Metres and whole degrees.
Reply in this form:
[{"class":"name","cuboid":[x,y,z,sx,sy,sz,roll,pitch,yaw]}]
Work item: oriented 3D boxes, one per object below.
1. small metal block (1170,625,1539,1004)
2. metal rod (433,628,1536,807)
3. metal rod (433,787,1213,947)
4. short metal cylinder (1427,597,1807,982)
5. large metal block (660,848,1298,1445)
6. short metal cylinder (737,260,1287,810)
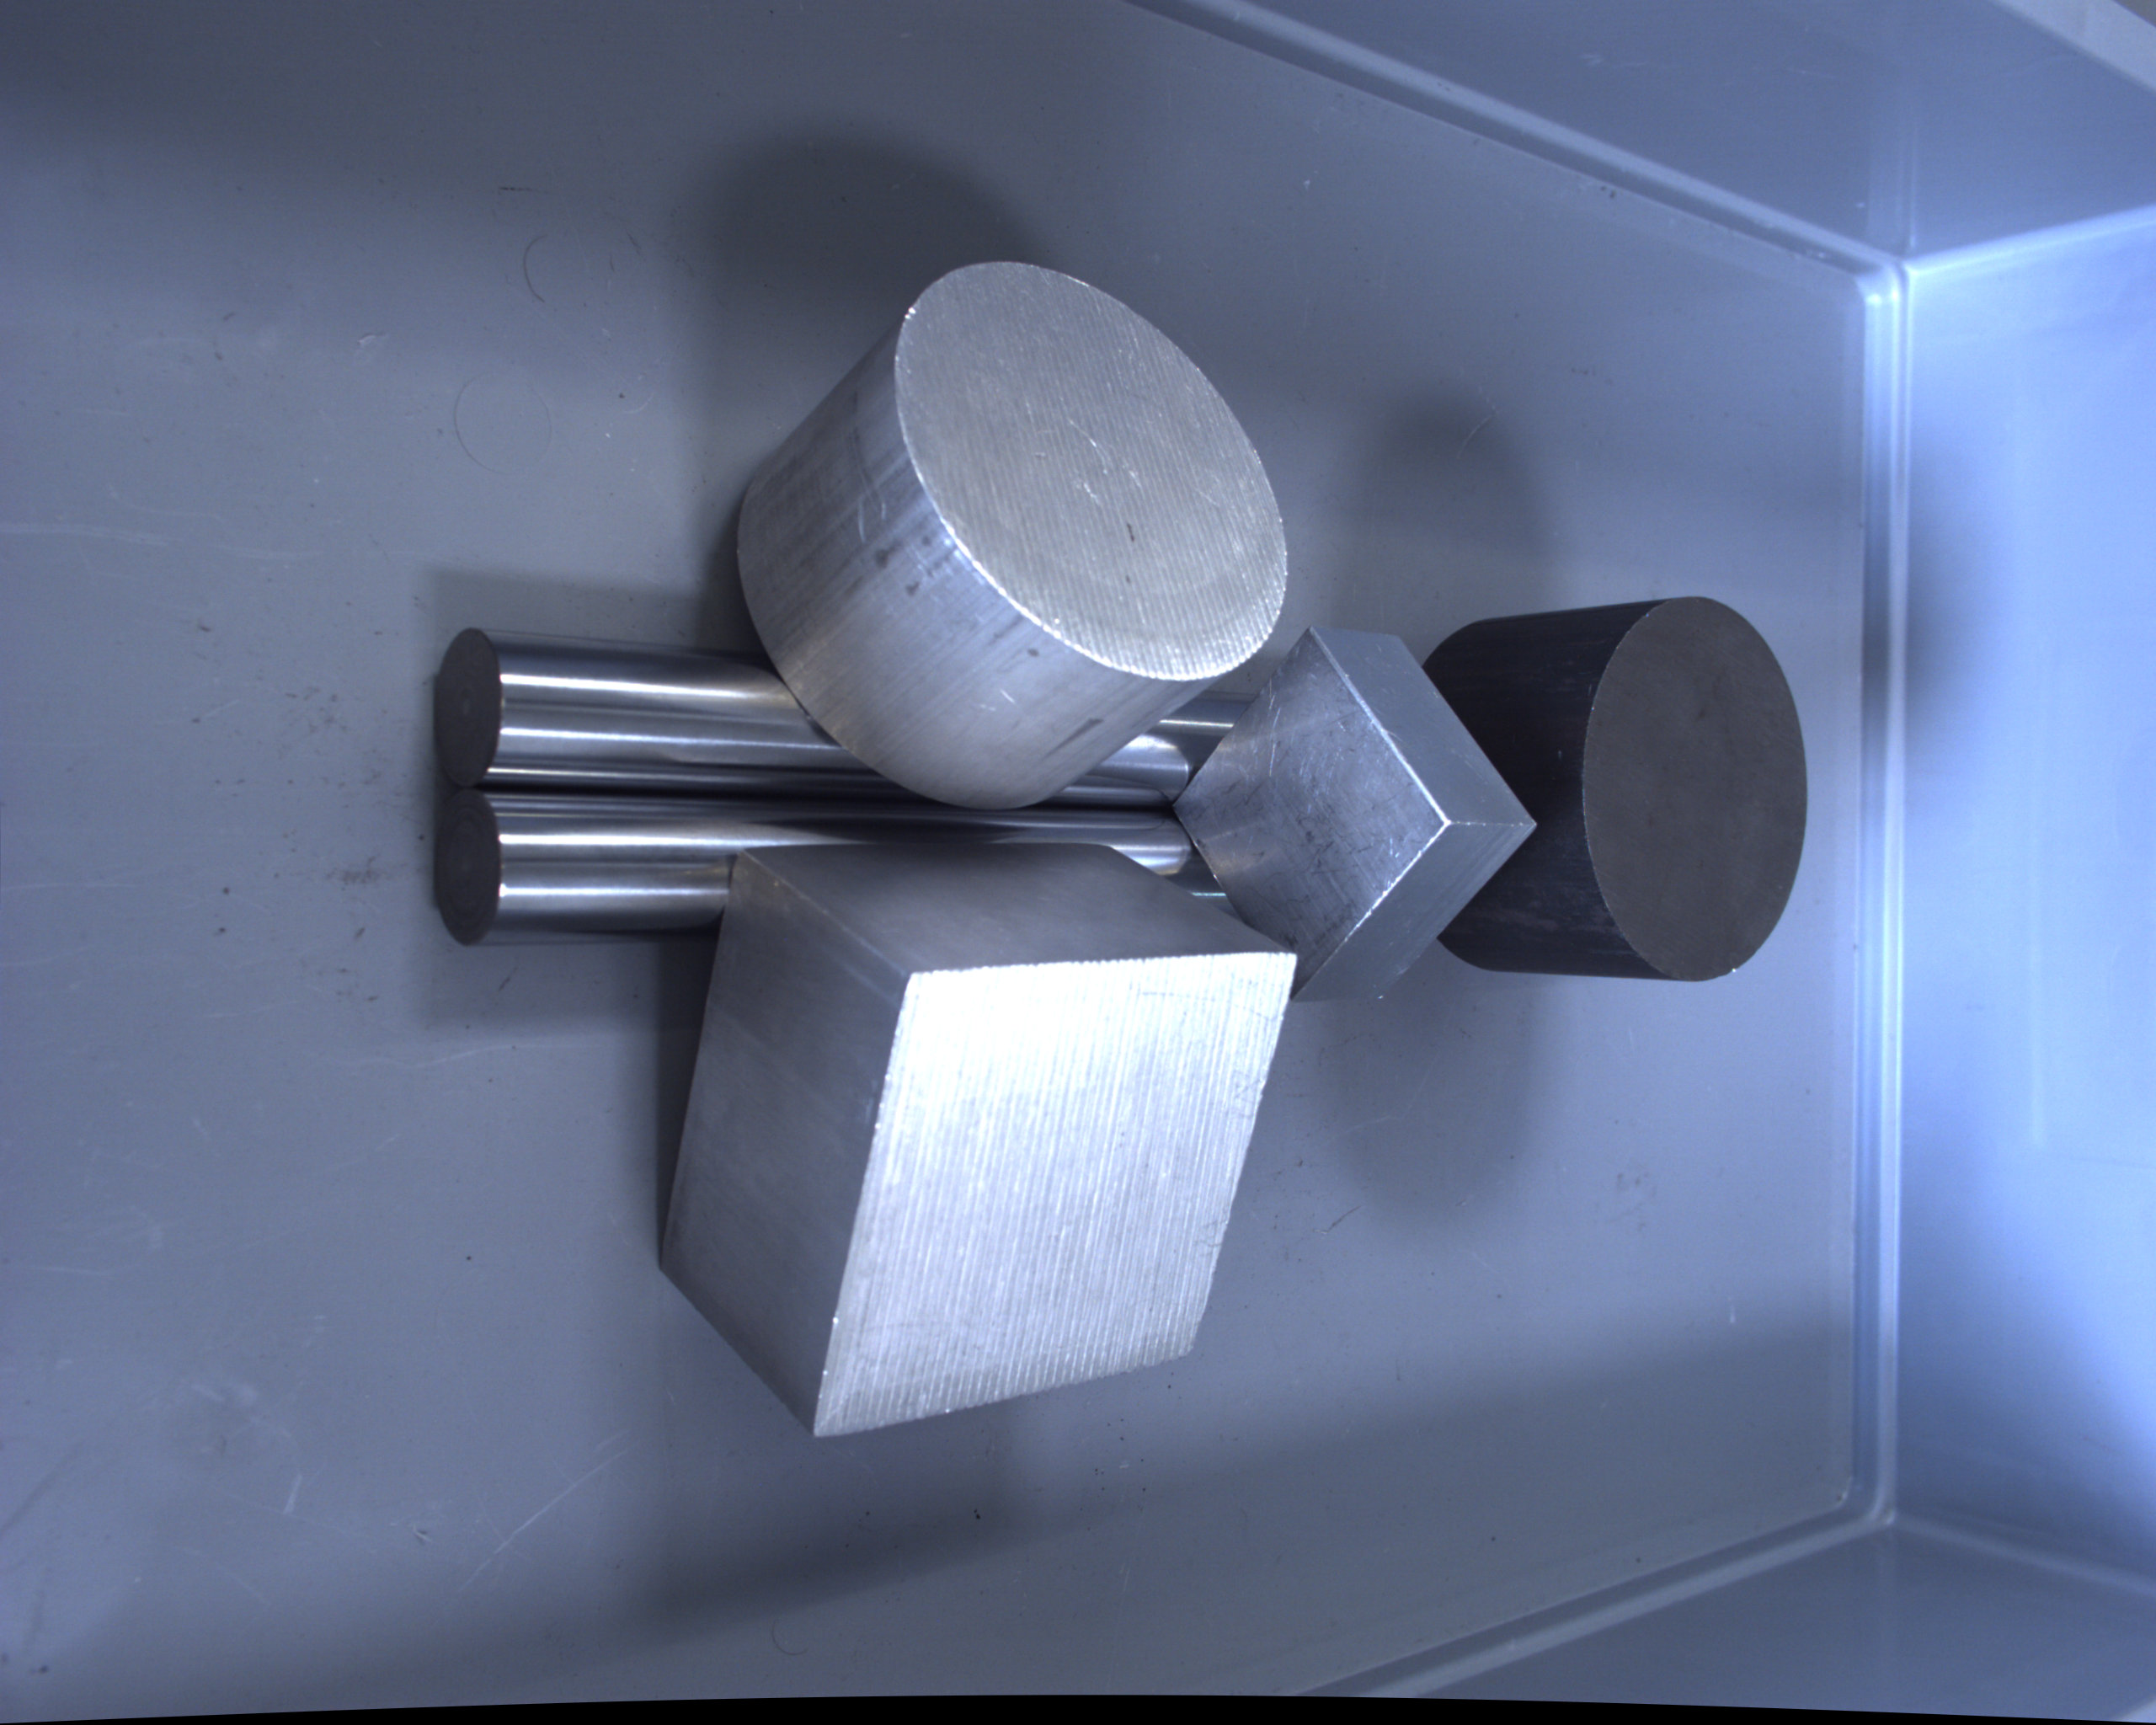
[{"class":"small metal block","cuboid":[0.051,-0.009,0.394,0.025,0.050,0.050,1,47,-40]},{"class":"metal rod","cuboid":[0.020,-0.023,0.422,0.302,0.025,0.025,1,90,-40]},{"class":"metal rod","cuboid":[0.020,0.002,0.422,0.302,0.025,0.025,1,90,-40]},{"class":"short metal cylinder","cuboid":[0.113,-0.015,0.451,0.081,0.050,0.079,0,90,-40]},{"class":"large metal block","cuboid":[-0.017,0.044,0.356,0.081,0.050,0.079,-1,111,-40]},{"class":"short metal cylinder","cuboid":[-0.011,-0.056,0.361,0.080,0.050,0.080,21,54,-31]}]
